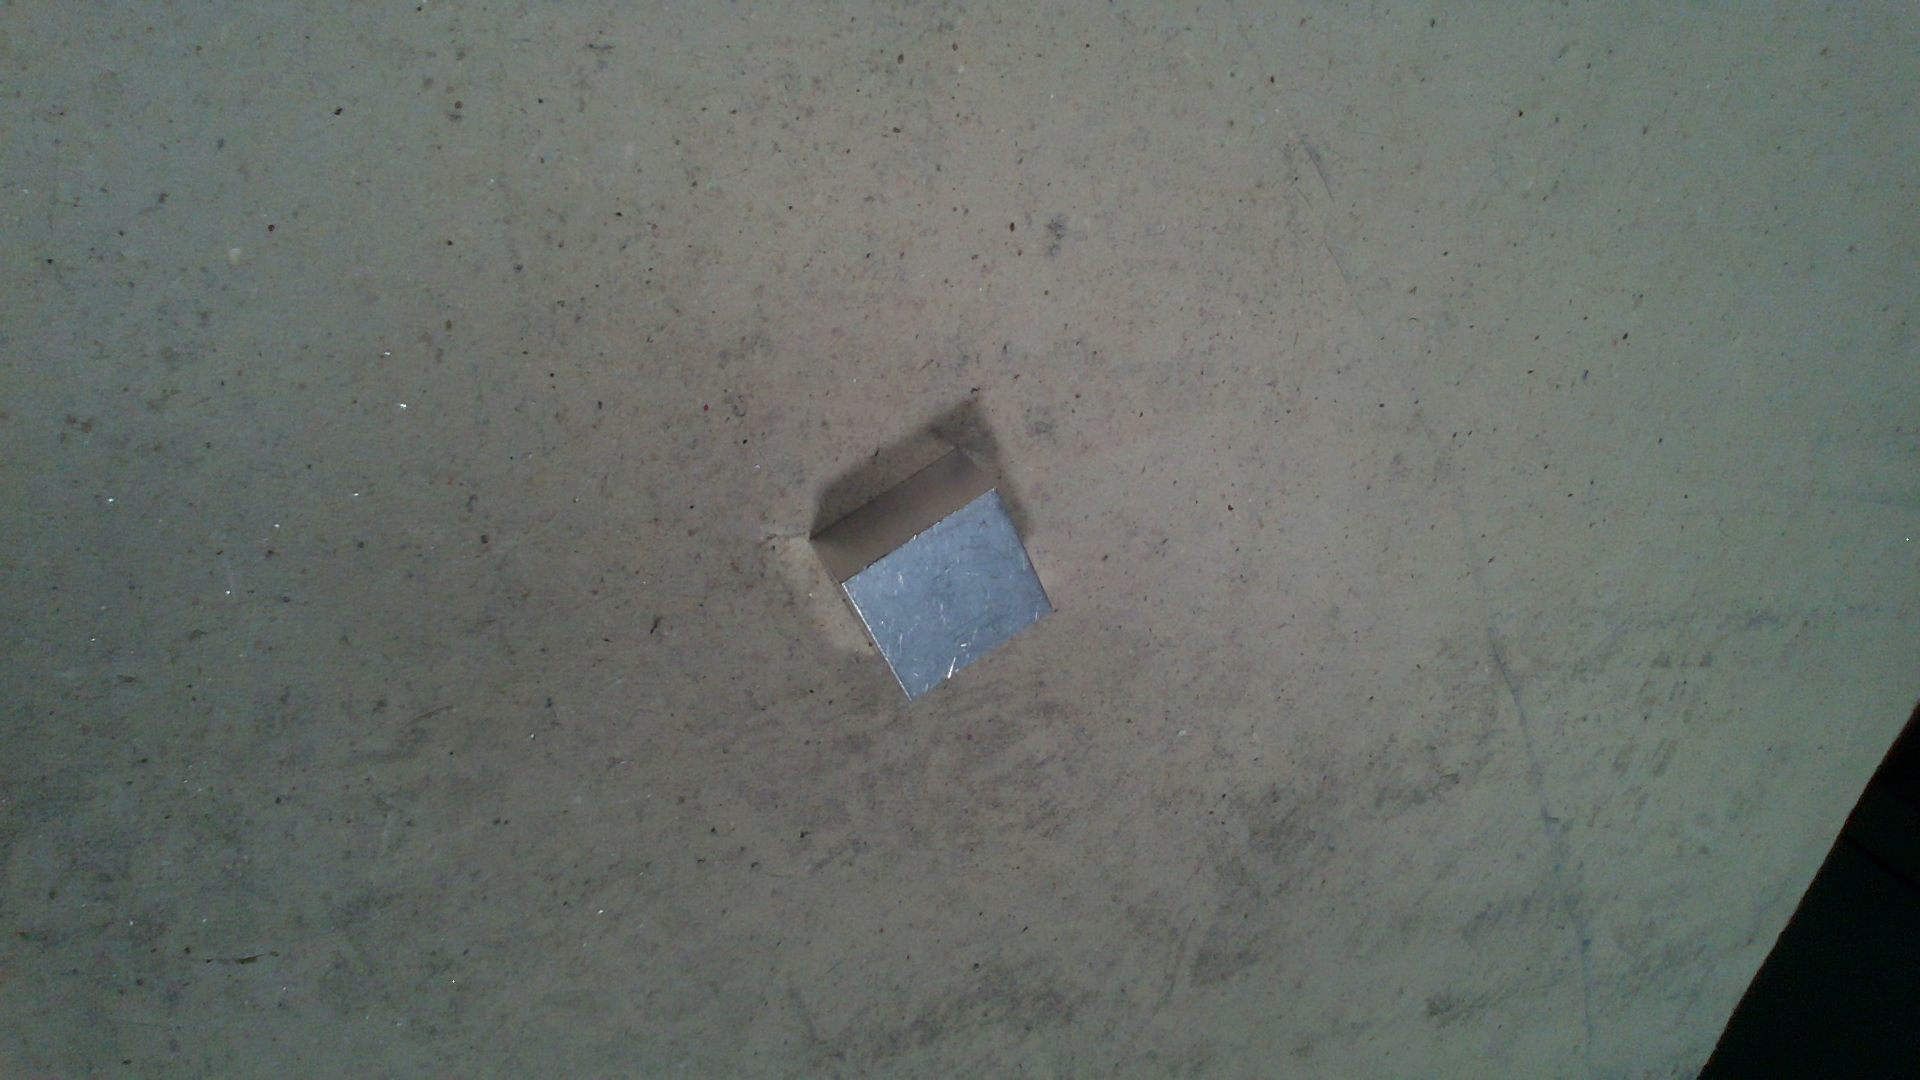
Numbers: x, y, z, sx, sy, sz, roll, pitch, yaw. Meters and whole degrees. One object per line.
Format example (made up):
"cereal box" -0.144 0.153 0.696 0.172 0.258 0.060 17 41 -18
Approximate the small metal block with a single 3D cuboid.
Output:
"small metal block" -0.008 0.010 0.392 0.050 0.025 0.050 -32 129 -7
